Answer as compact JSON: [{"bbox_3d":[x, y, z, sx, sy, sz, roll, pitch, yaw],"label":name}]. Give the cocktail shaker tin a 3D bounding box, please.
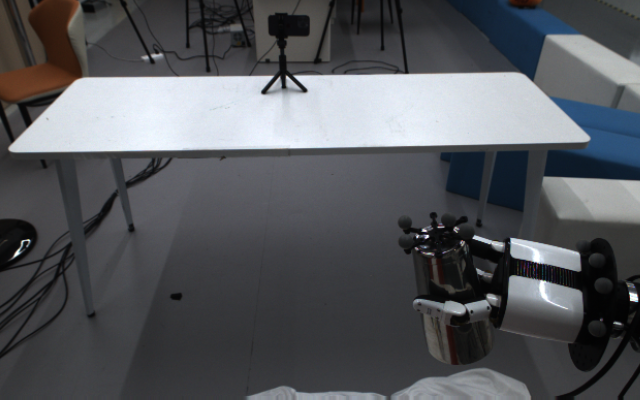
[{"bbox_3d":[0.166,0.116,0.619,0.093,0.170,0.093,-15,28,8],"label":"cocktail shaker tin"}]
